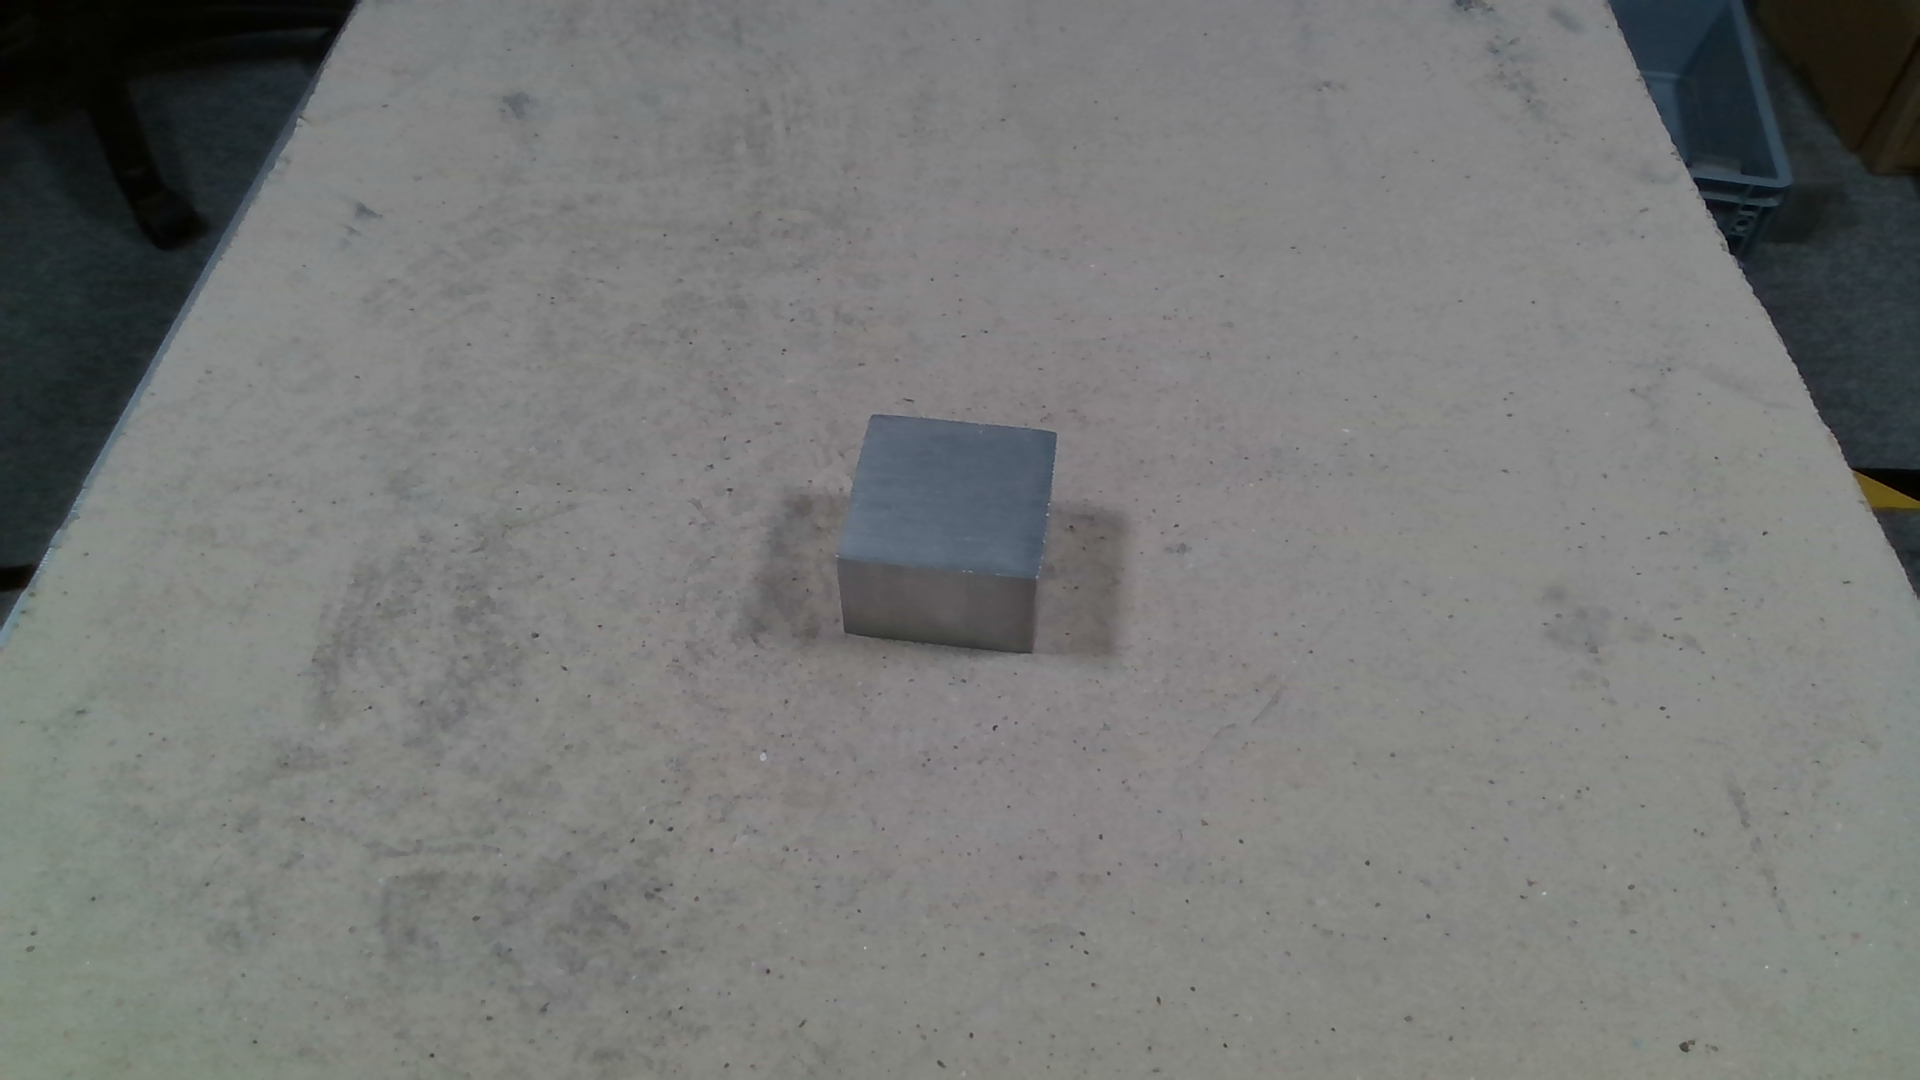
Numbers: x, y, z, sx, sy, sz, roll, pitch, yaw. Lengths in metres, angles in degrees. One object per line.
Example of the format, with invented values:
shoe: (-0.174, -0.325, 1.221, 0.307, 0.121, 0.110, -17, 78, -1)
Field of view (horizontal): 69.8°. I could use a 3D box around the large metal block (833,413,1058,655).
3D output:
large metal block: (-0.004, -0.003, 0.574, 0.080, 0.050, 0.080, 6, 50, 5)
